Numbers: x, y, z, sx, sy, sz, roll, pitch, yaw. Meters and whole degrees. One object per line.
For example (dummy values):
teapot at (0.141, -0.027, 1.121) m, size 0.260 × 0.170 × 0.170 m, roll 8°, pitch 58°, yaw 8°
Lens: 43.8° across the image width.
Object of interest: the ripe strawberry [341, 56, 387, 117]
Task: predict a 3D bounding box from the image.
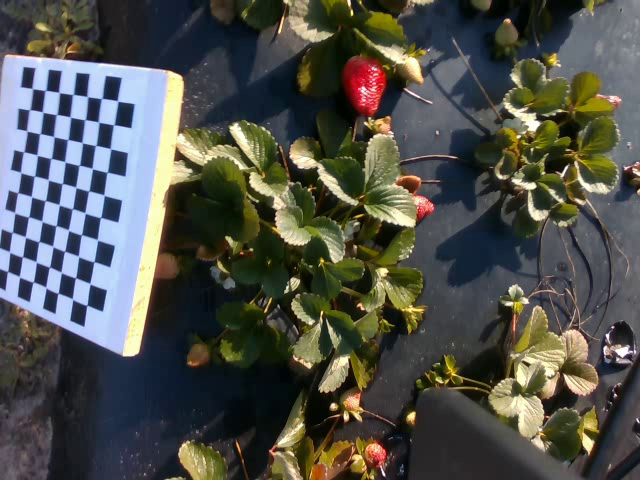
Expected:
ripe strawberry at (0.049, -0.159, 0.830) m, size 0.056 × 0.072 × 0.055 m, roll -16°, pitch -23°, yaw 29°
